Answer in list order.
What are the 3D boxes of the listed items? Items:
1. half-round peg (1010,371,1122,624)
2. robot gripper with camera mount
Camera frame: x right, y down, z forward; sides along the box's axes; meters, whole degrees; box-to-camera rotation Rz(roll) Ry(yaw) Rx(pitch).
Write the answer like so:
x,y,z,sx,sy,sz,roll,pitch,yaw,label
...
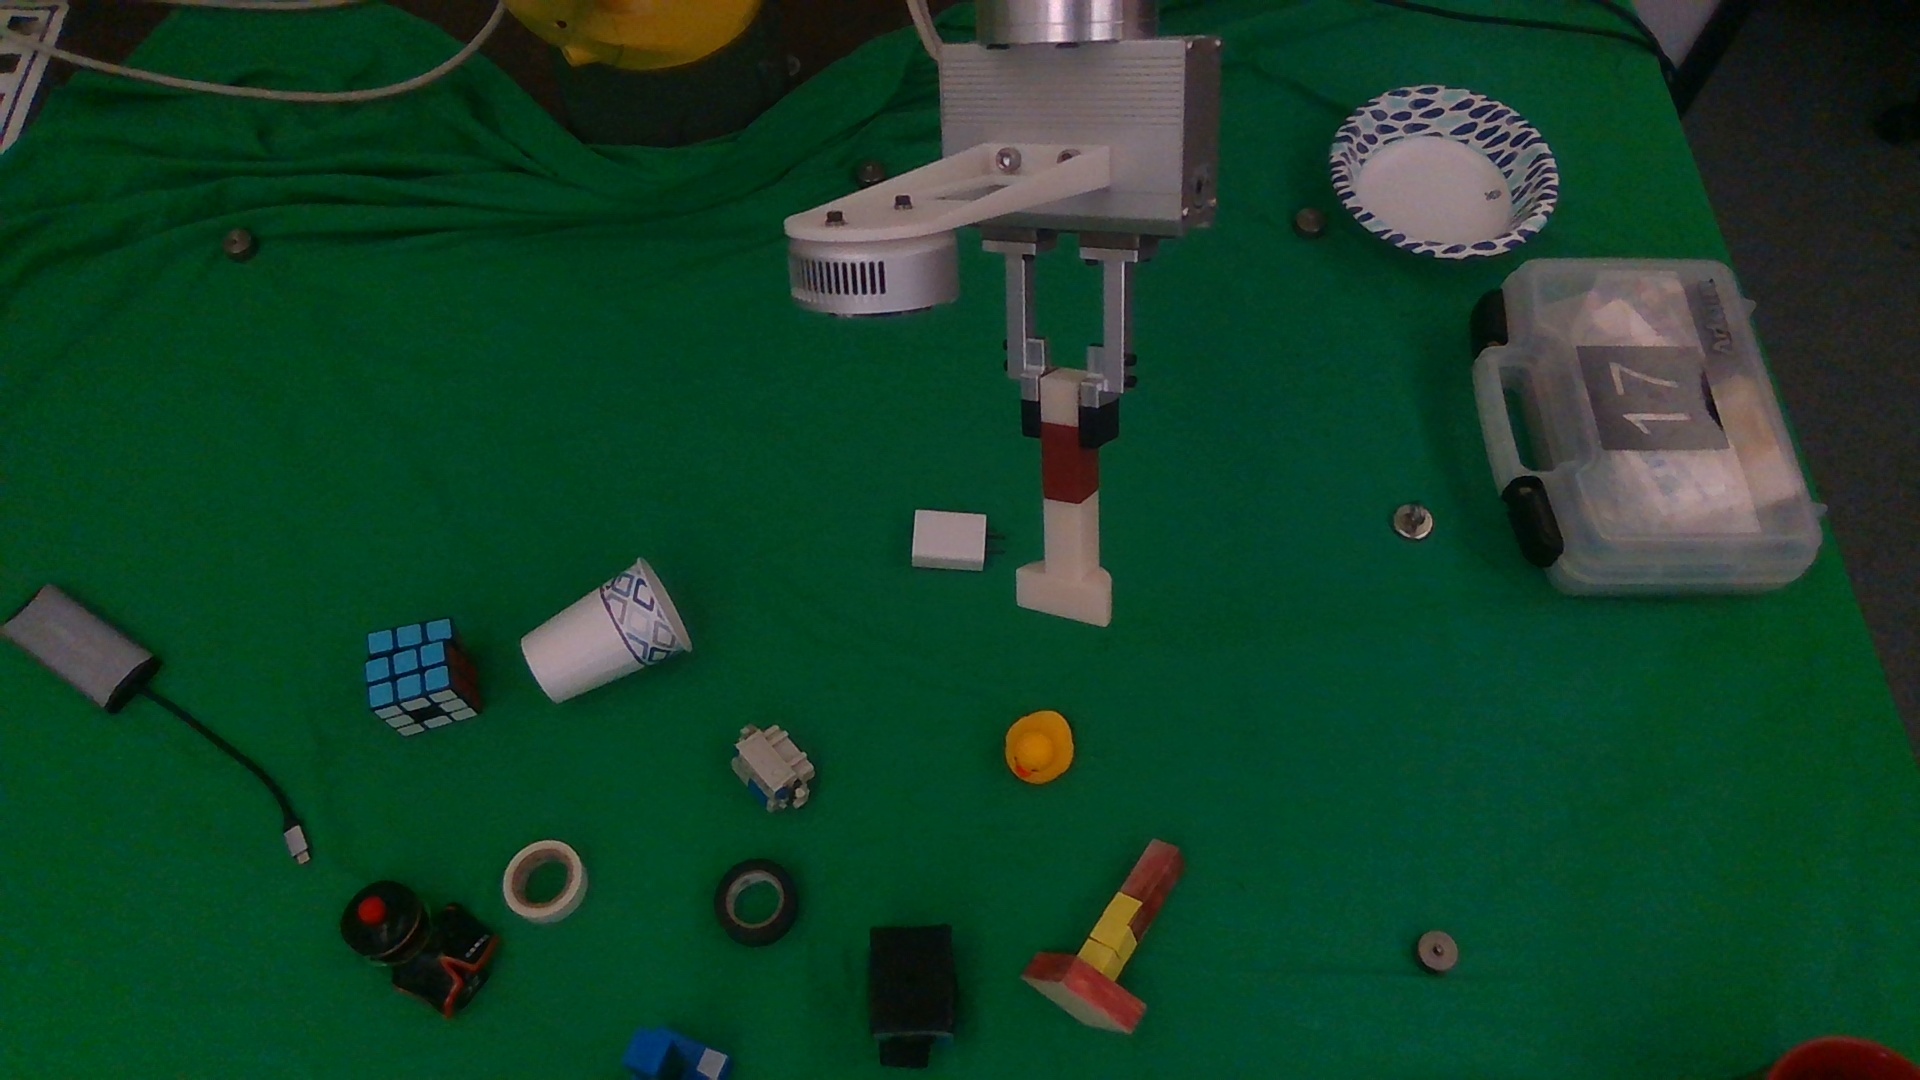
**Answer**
x,y,z,sx,sy,sz,roll,pitch,yaw,label
0.050,-0.020,0.663,0.054,0.122,0.031,7,28,22,half-round peg
0.019,-0.101,0.568,0.119,0.158,0.193,14,26,31,robot gripper with camera mount
